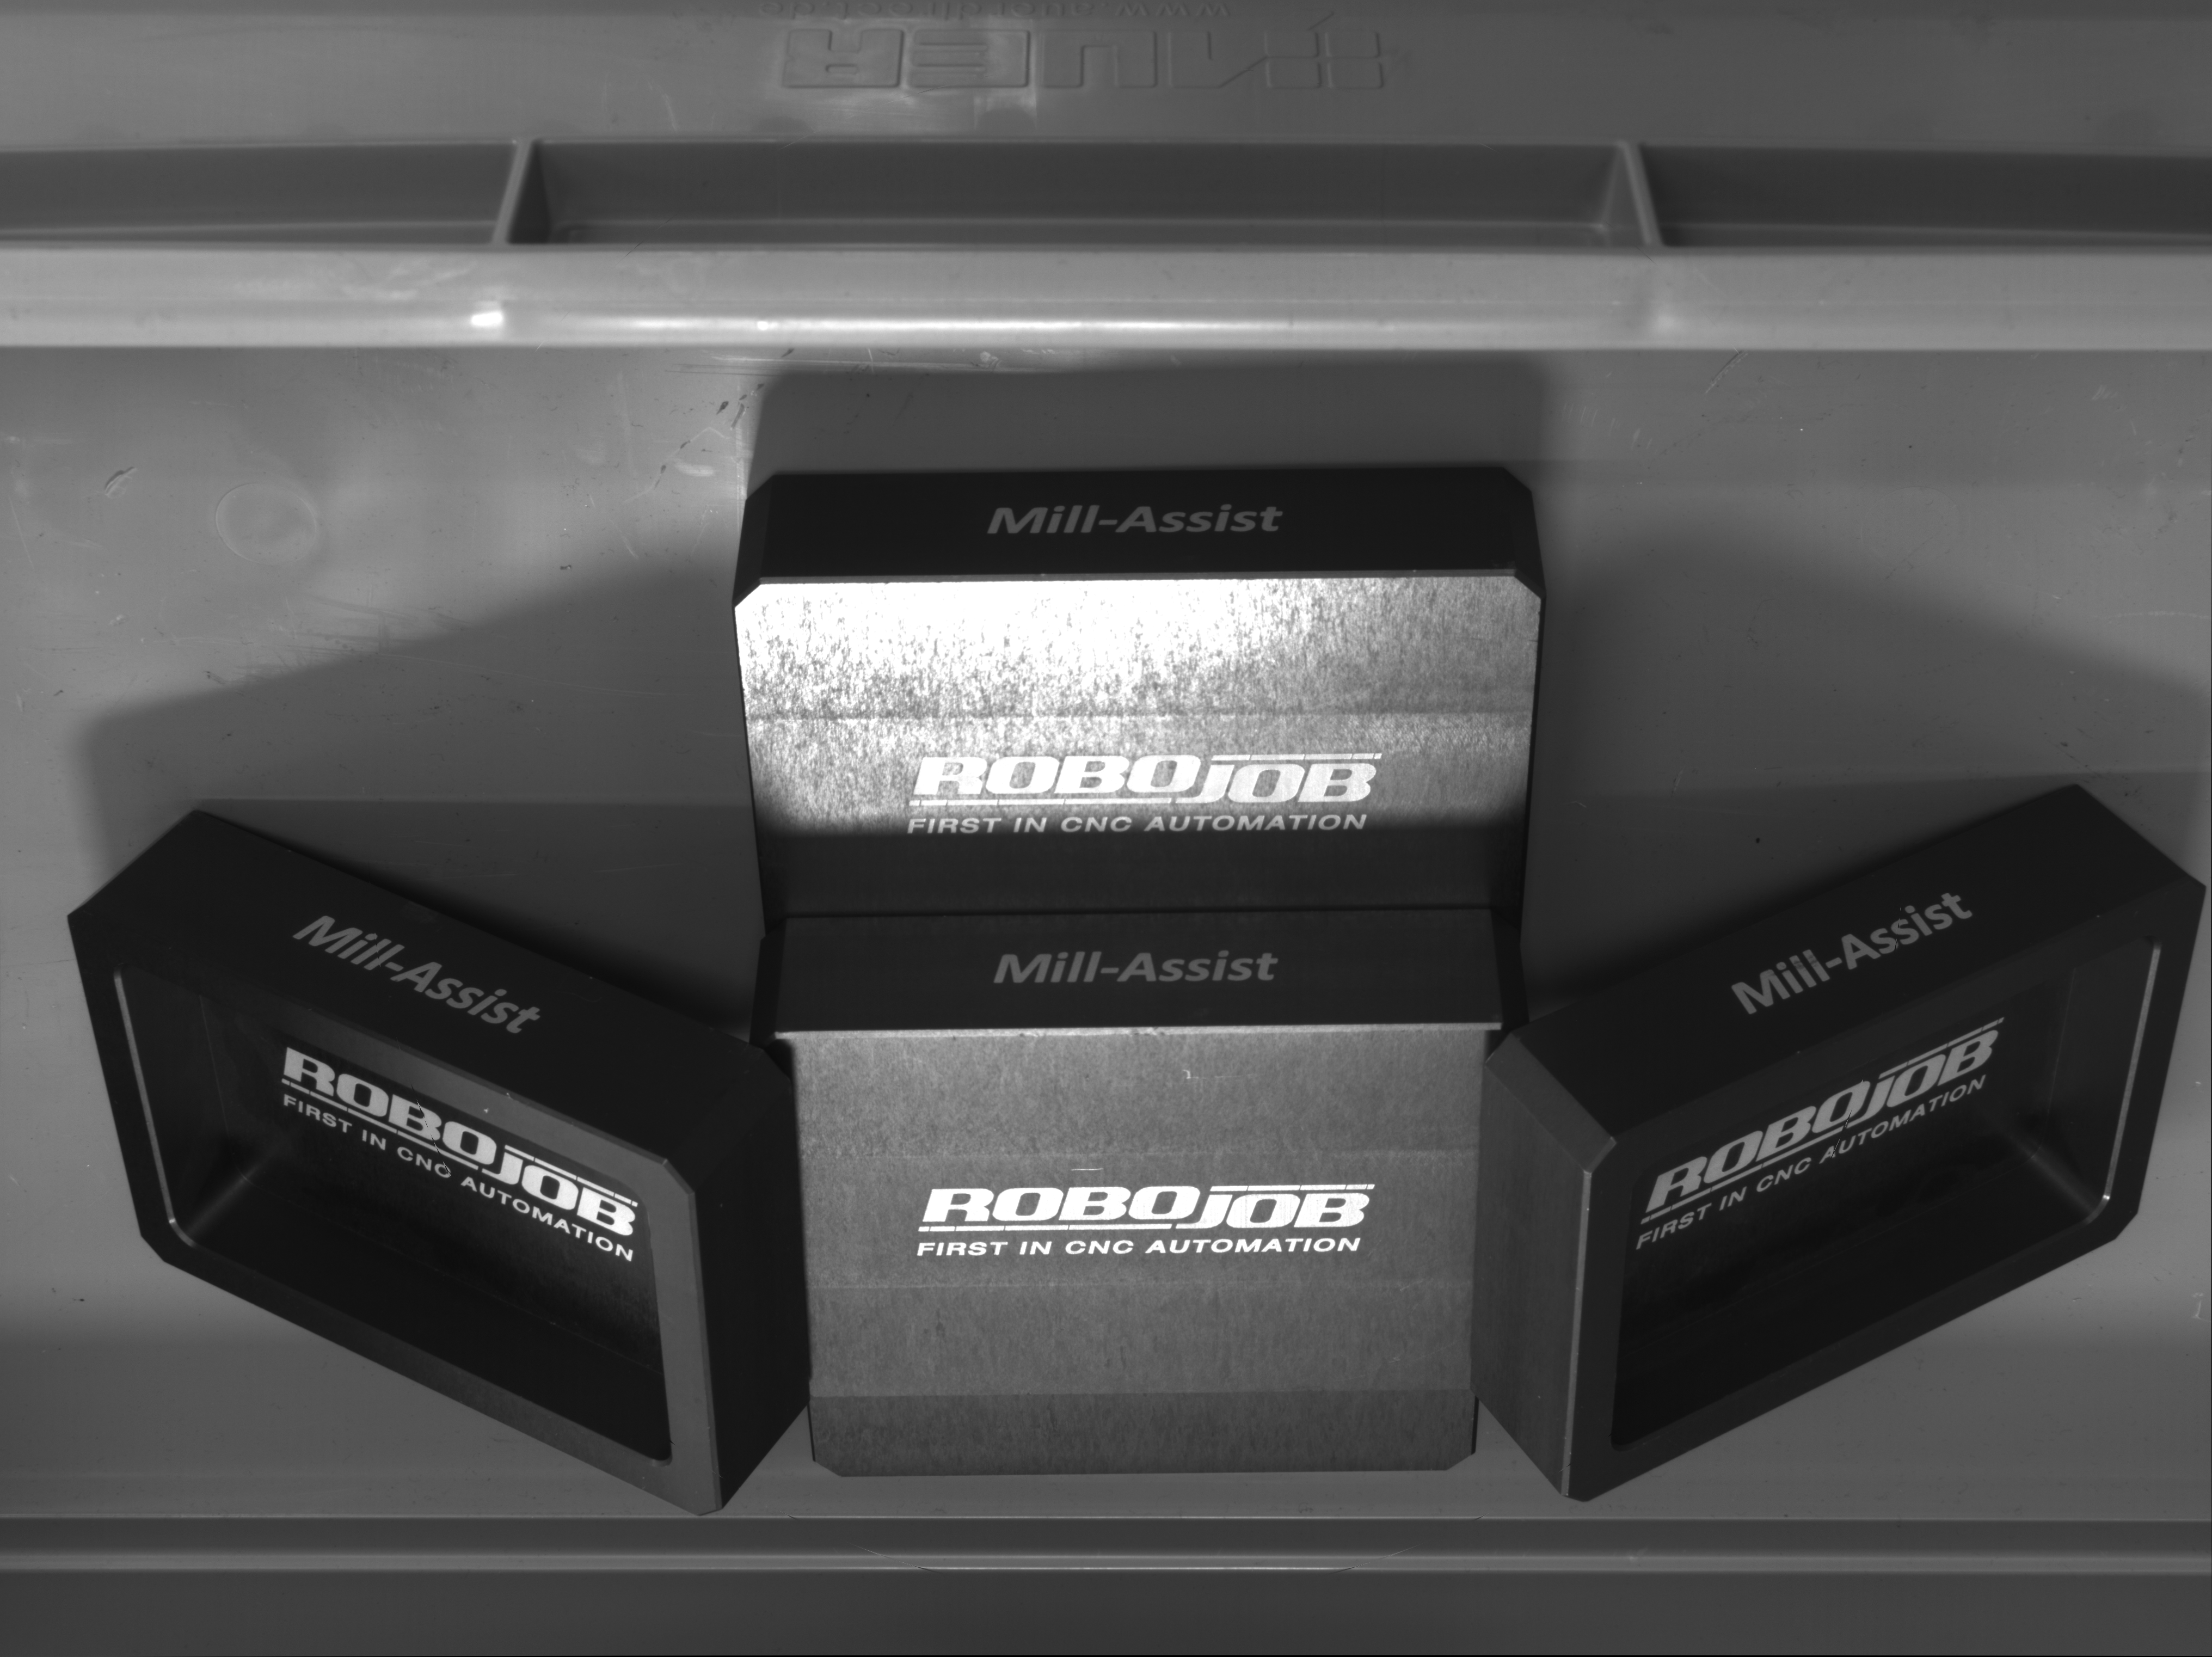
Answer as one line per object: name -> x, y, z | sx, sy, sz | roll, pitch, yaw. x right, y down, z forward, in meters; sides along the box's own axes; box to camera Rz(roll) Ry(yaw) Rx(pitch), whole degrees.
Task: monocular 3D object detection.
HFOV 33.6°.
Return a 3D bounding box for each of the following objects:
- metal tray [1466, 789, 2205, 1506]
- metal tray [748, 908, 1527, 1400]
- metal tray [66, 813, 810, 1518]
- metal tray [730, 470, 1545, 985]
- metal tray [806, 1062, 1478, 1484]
metal tray -> 0.126, 0.056, 0.640 | 0.130, 0.030, 0.090 | -21, 134, -21
metal tray -> 0.006, 0.058, 0.644 | 0.130, 0.030, 0.090 | -1, 130, 0
metal tray -> -0.116, 0.059, 0.644 | 0.130, 0.030, 0.090 | 21, 135, 21
metal tray -> 0.006, -0.015, 0.621 | 0.130, 0.030, 0.090 | -1, 130, 0
metal tray -> 0.007, 0.085, 0.704 | 0.130, 0.030, 0.090 | -1, 130, 0
